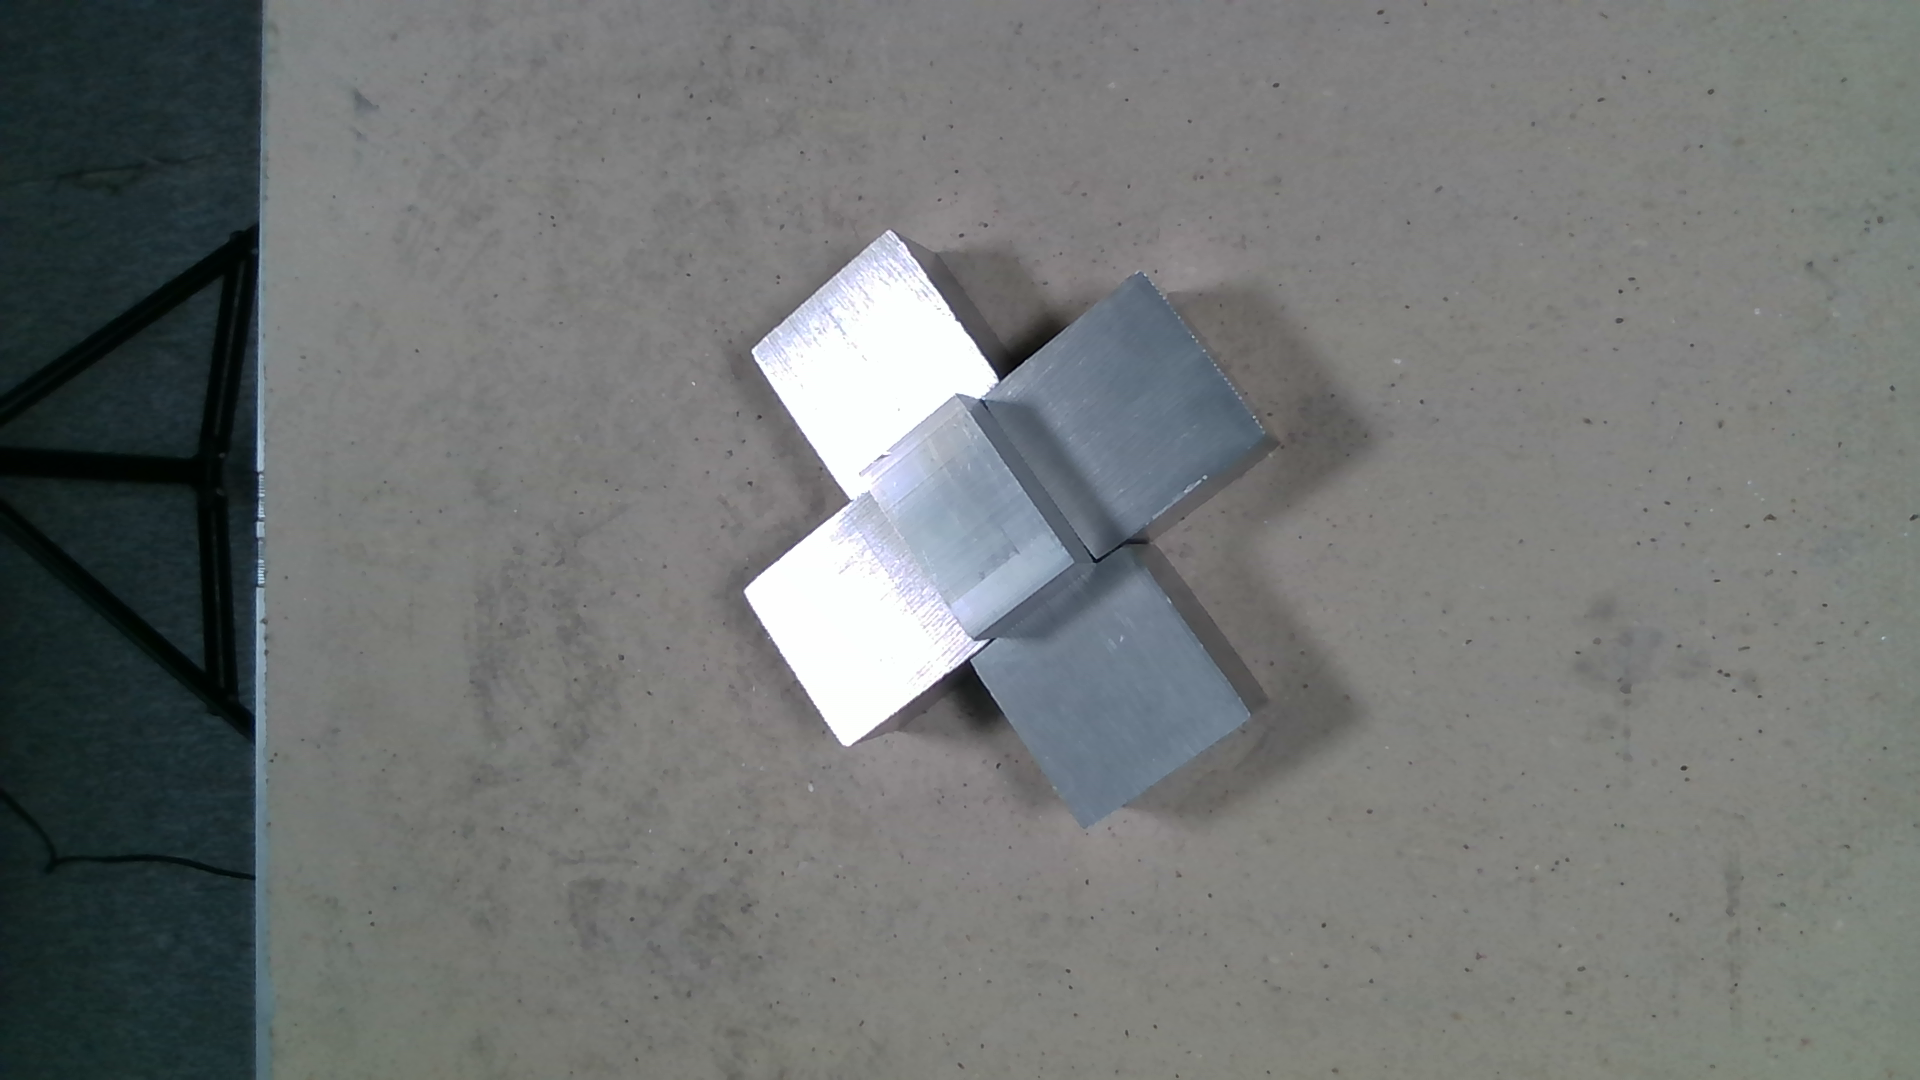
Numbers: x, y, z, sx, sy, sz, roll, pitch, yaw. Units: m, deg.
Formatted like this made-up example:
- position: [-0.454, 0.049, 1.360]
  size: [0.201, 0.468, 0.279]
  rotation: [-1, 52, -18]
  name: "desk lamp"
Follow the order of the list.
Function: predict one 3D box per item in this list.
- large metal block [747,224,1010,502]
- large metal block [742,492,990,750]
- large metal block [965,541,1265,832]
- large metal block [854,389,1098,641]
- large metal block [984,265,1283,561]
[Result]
- position: [-0.028, -0.072, 0.581]
  size: [0.080, 0.050, 0.080]
  rotation: [-38, 78, 16]
  name: "large metal block"
- position: [-0.031, 0.030, 0.583]
  size: [0.080, 0.050, 0.080]
  rotation: [-38, 78, 16]
  name: "large metal block"
- position: [0.063, 0.056, 0.549]
  size: [0.080, 0.050, 0.080]
  rotation: [-38, 78, 16]
  name: "large metal block"
- position: [0.015, -0.010, 0.551]
  size: [0.050, 0.080, 0.080]
  rotation: [-38, 78, 16]
  name: "large metal block"
- position: [0.068, -0.048, 0.546]
  size: [0.080, 0.050, 0.080]
  rotation: [-38, 78, 16]
  name: "large metal block"
